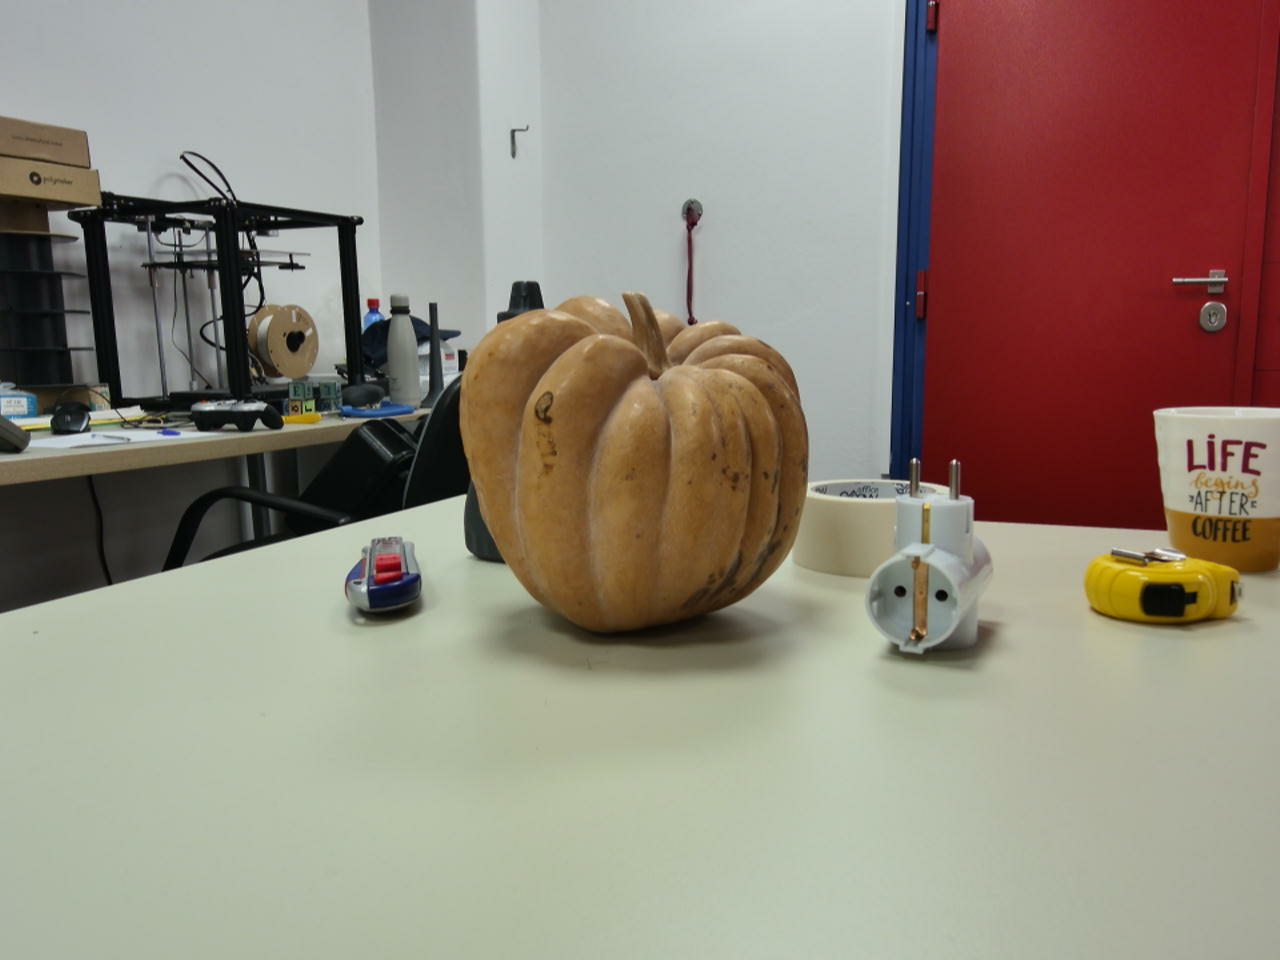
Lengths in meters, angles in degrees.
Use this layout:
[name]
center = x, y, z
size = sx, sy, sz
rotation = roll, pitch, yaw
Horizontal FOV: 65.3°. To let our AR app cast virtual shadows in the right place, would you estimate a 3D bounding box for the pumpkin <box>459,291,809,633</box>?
[pumpkin]
center = -0.005, -0.012, 0.539
size = 0.199, 0.177, 0.198
rotation = -1, 6, 0
